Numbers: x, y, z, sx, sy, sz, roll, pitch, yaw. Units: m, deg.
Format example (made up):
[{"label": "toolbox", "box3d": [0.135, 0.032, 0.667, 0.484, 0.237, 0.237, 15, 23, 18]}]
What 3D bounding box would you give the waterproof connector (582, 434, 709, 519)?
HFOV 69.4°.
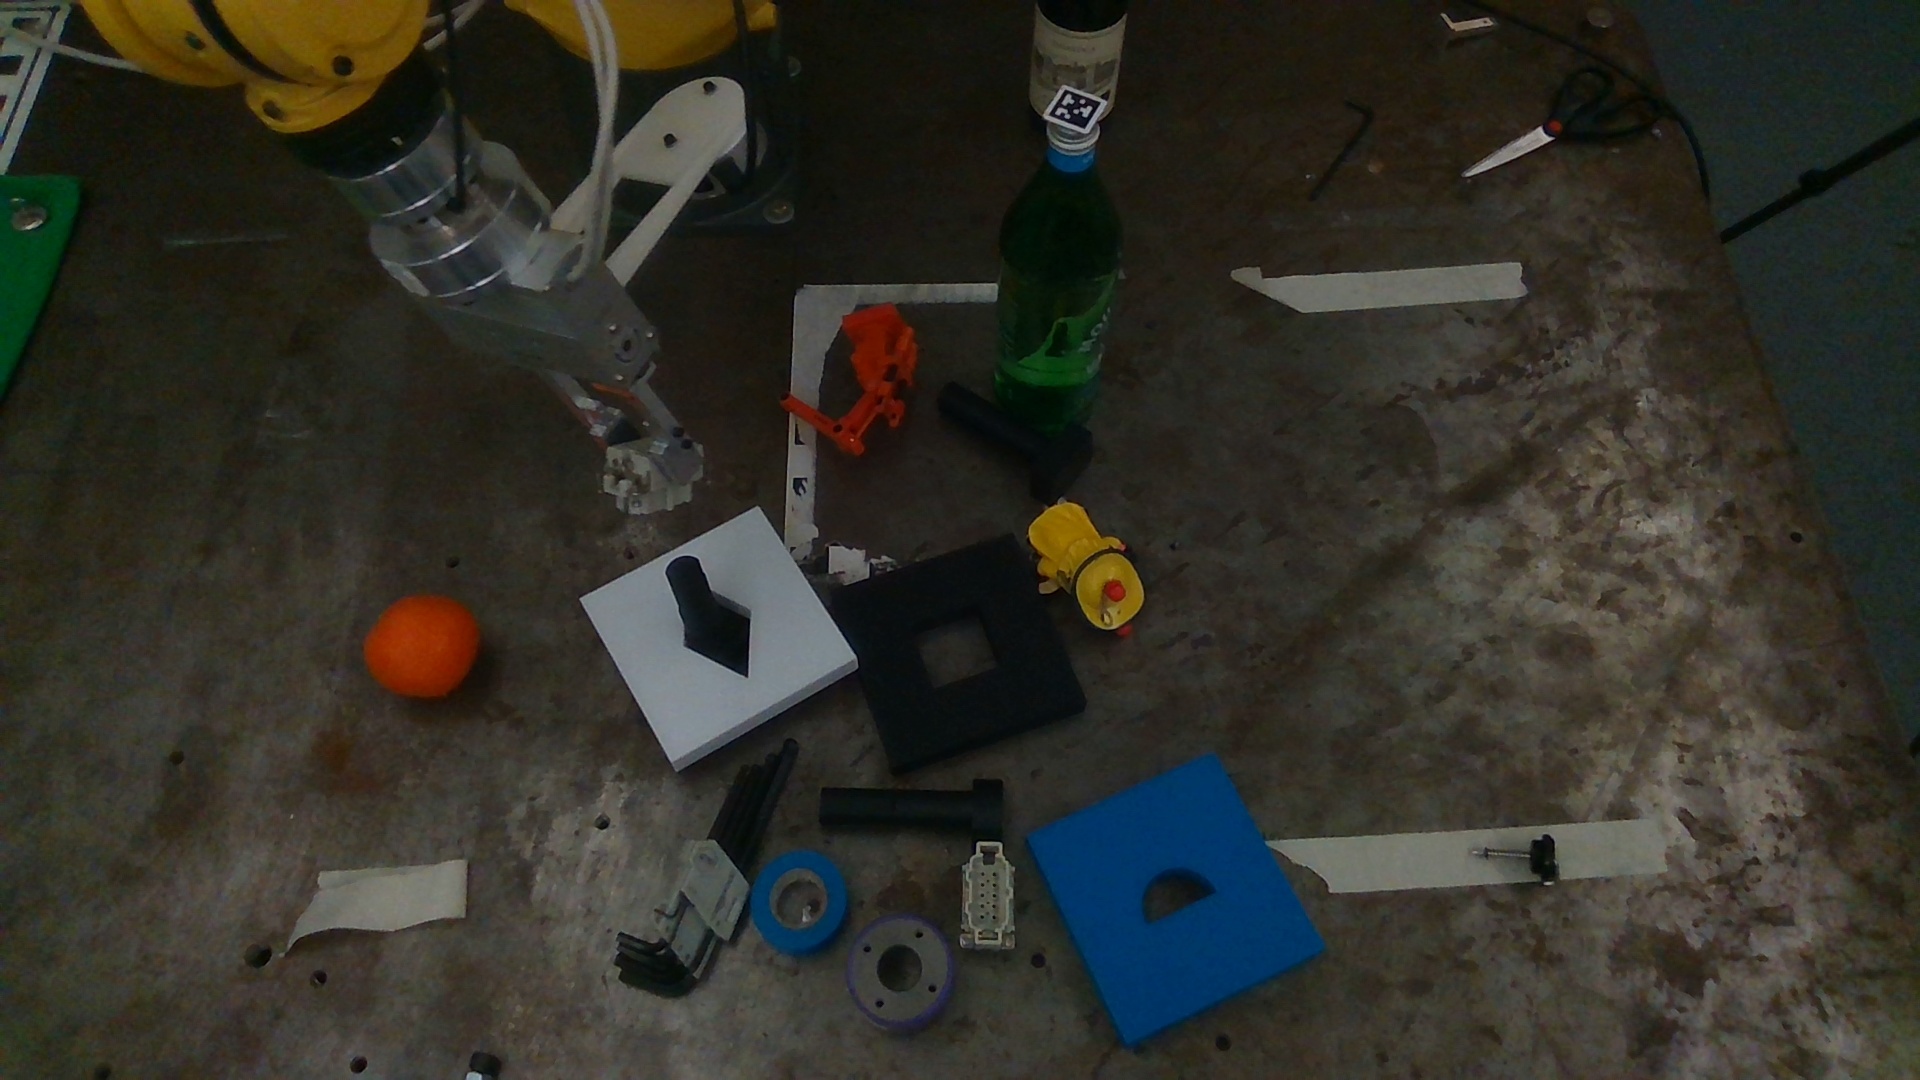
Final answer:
[{"label": "waterproof connector", "box3d": [-0.175, -0.036, 0.779, 0.037, 0.038, 0.069, 14, 20, 32]}]
